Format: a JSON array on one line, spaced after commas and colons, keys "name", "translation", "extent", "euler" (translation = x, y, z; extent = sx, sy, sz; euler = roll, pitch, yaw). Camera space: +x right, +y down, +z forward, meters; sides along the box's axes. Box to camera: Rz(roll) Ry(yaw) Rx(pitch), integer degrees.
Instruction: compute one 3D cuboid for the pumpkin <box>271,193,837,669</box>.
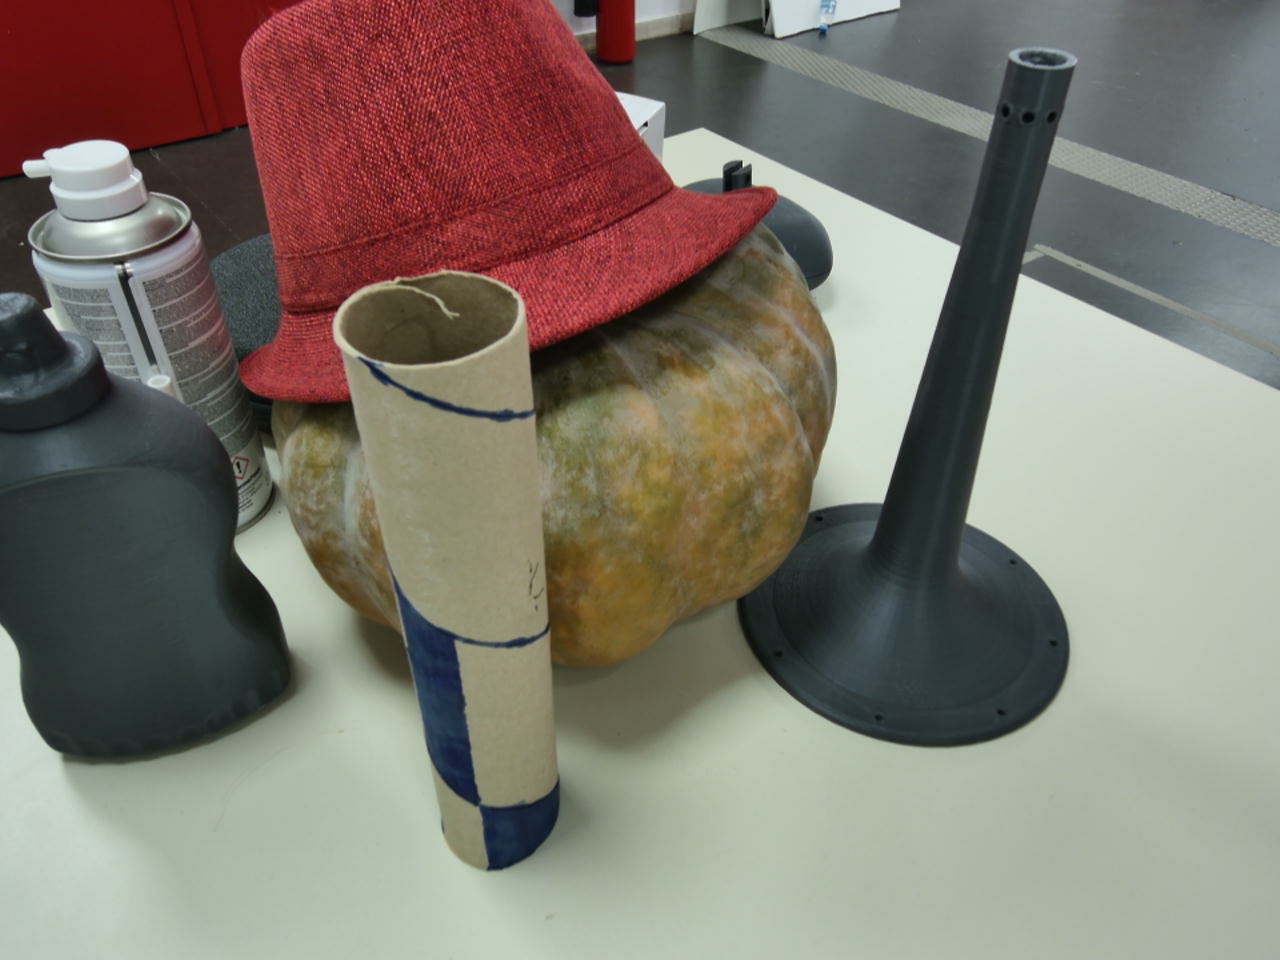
[{"name": "pumpkin", "translation": [-0.039, -0.029, 0.449], "extent": [0.252, 0.169, 0.251], "euler": [0, 38, 0]}]
